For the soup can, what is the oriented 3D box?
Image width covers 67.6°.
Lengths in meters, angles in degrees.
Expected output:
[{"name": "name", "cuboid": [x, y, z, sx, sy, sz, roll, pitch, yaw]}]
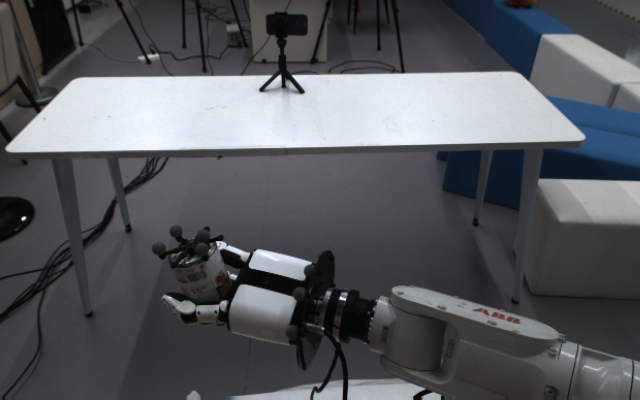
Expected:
[{"name": "soup can", "cuboid": [-0.159, 0.112, 0.664, 0.067, 0.101, 0.067, -11, 26, 5]}]
